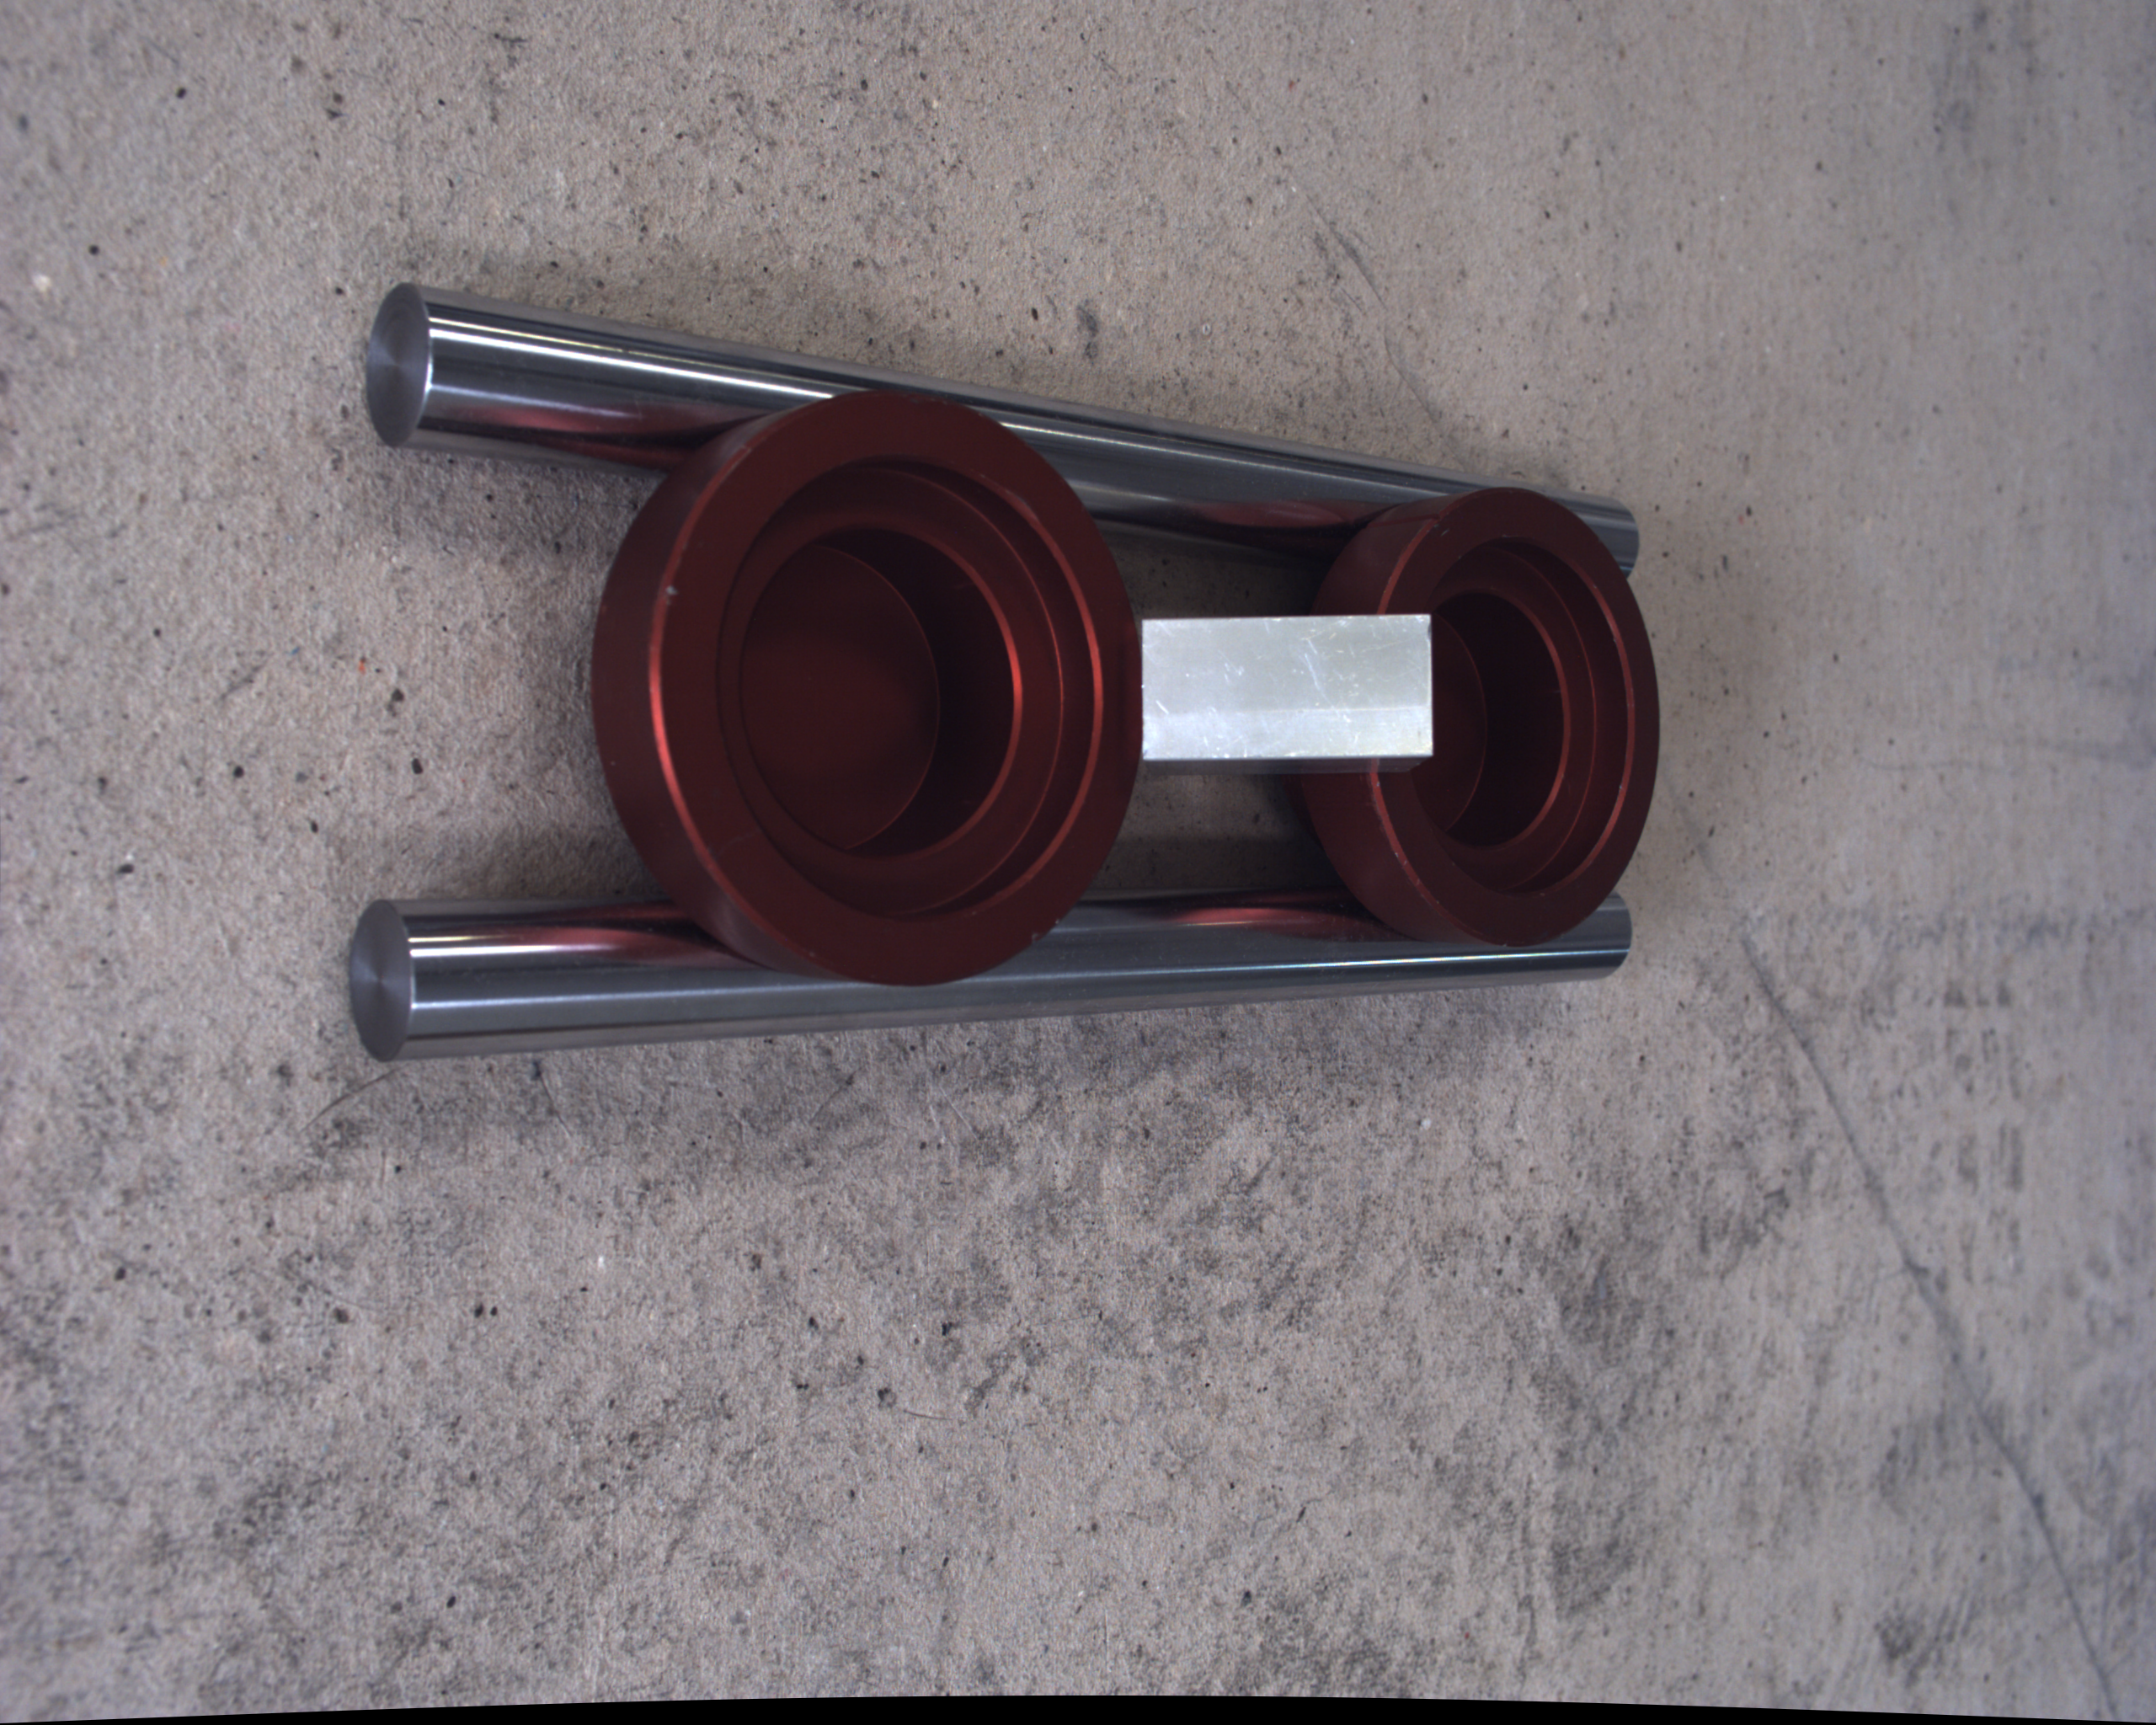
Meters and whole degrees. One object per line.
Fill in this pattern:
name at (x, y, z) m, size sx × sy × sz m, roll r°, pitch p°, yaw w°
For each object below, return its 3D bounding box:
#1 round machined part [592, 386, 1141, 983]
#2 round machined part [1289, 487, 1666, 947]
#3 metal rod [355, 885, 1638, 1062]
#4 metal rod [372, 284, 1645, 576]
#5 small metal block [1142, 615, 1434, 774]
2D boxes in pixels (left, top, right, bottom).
round machined part at (-0.038, -0.029, 0.357) m, size 0.099 × 0.042 × 0.097 m, roll 0°, pitch 90°, yaw -40°
round machined part at (0.083, -0.031, 0.457) m, size 0.099 × 0.042 × 0.097 m, roll 0°, pitch 90°, yaw -40°
metal rod at (0.011, 0.017, 0.414) m, size 0.302 × 0.025 × 0.025 m, roll 0°, pitch 90°, yaw -40°
metal rod at (0.013, -0.076, 0.416) m, size 0.302 × 0.025 × 0.025 m, roll 0°, pitch 90°, yaw -40°
small metal block at (0.038, -0.030, 0.387) m, size 0.050 × 0.050 × 0.025 m, roll 0°, pitch 90°, yaw 3°
